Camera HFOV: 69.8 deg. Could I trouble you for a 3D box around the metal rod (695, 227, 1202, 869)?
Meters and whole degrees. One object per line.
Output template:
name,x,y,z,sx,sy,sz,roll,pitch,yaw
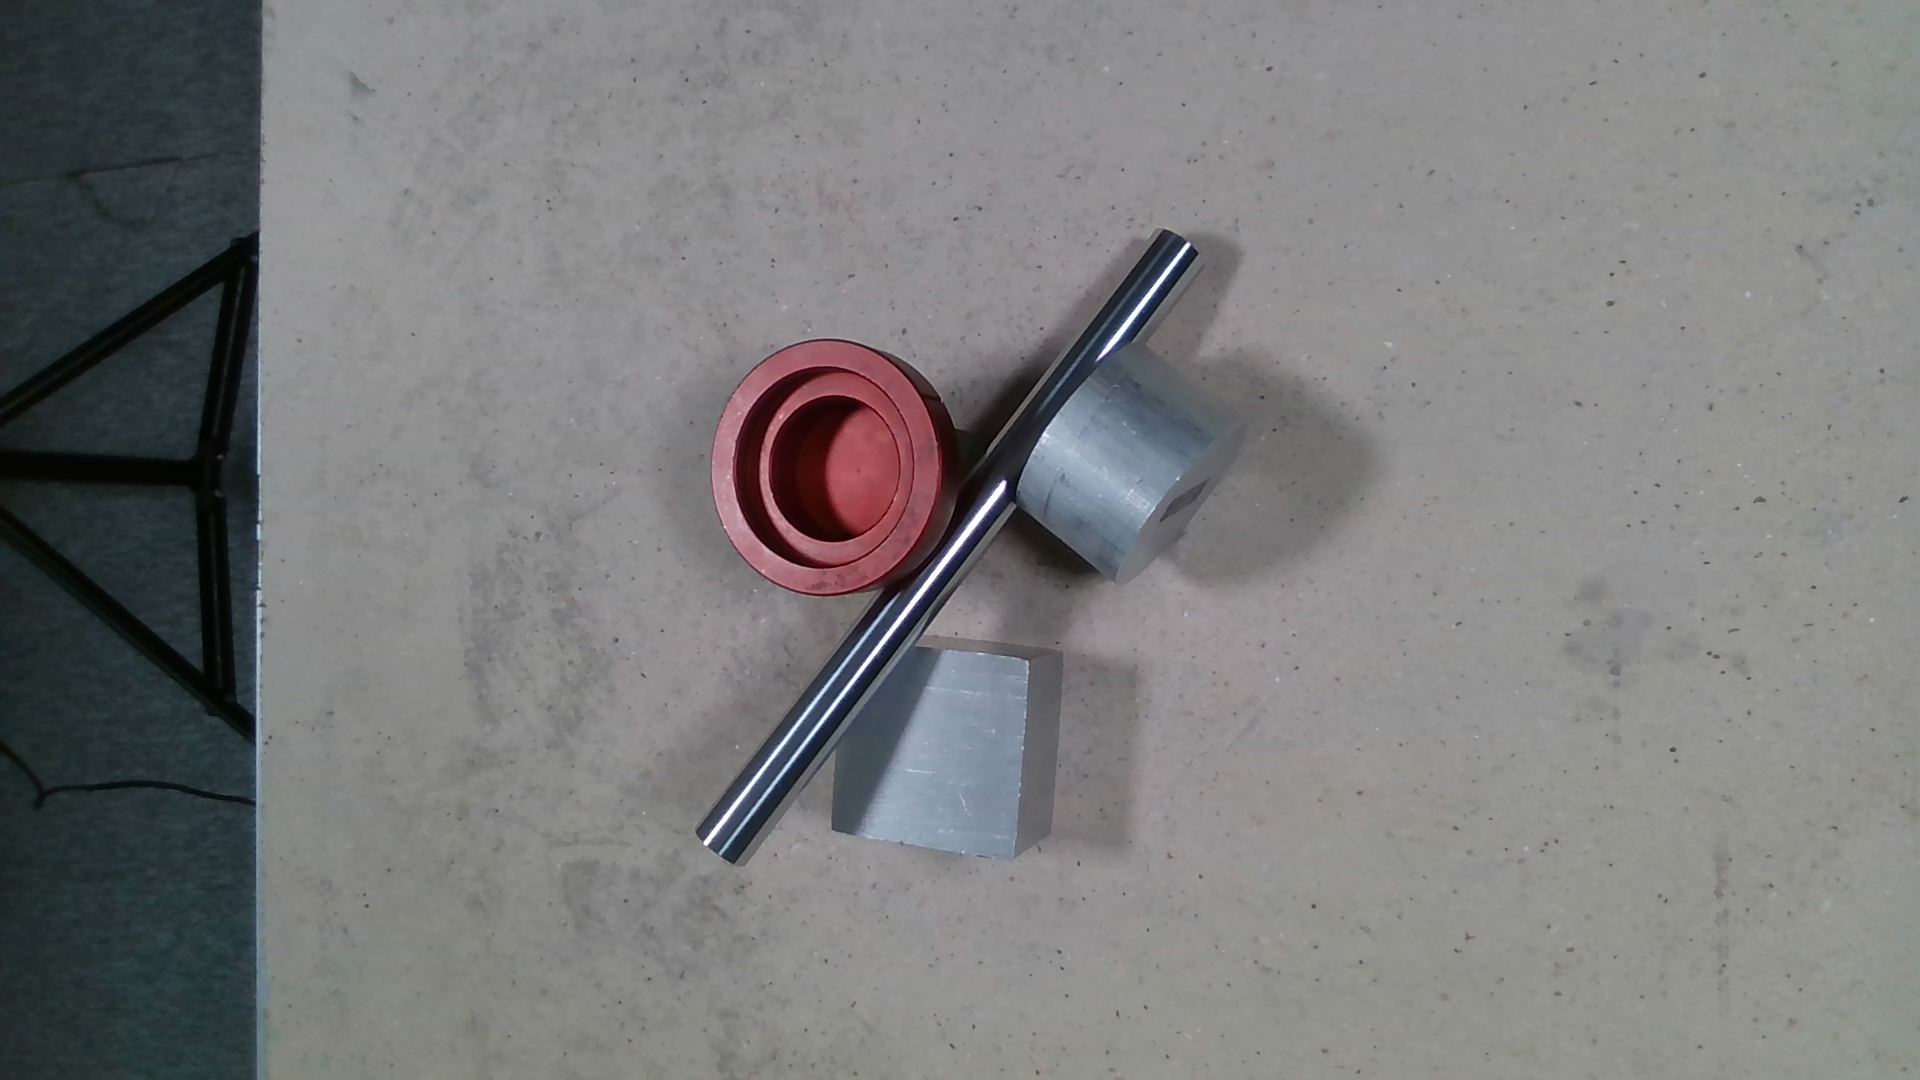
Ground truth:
metal rod,-0.004,0.002,0.547,0.025,0.025,0.300,37,88,16

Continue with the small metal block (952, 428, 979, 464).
small metal block,-0.018,-0.031,0.580,0.050,0.050,0.025,-2,89,20

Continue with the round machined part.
round machined part,-0.046,-0.028,0.541,0.098,0.042,0.098,0,91,22

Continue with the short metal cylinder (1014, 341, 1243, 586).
short metal cylinder,0.066,-0.029,0.532,0.050,0.080,0.080,39,103,16

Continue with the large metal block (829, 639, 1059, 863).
large metal block,-0.005,0.084,0.575,0.080,0.050,0.080,5,92,20
